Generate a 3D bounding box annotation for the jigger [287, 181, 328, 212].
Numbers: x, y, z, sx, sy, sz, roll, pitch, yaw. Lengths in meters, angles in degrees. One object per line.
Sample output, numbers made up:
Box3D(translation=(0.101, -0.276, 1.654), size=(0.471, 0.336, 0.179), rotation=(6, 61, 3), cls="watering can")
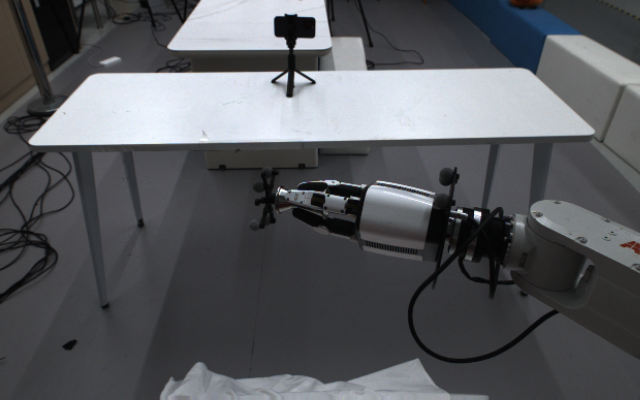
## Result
Box3D(translation=(-0.017, -0.001, 0.663), size=(0.071, 0.043, 0.043), rotation=(5, 34, 14), cls="jigger")
